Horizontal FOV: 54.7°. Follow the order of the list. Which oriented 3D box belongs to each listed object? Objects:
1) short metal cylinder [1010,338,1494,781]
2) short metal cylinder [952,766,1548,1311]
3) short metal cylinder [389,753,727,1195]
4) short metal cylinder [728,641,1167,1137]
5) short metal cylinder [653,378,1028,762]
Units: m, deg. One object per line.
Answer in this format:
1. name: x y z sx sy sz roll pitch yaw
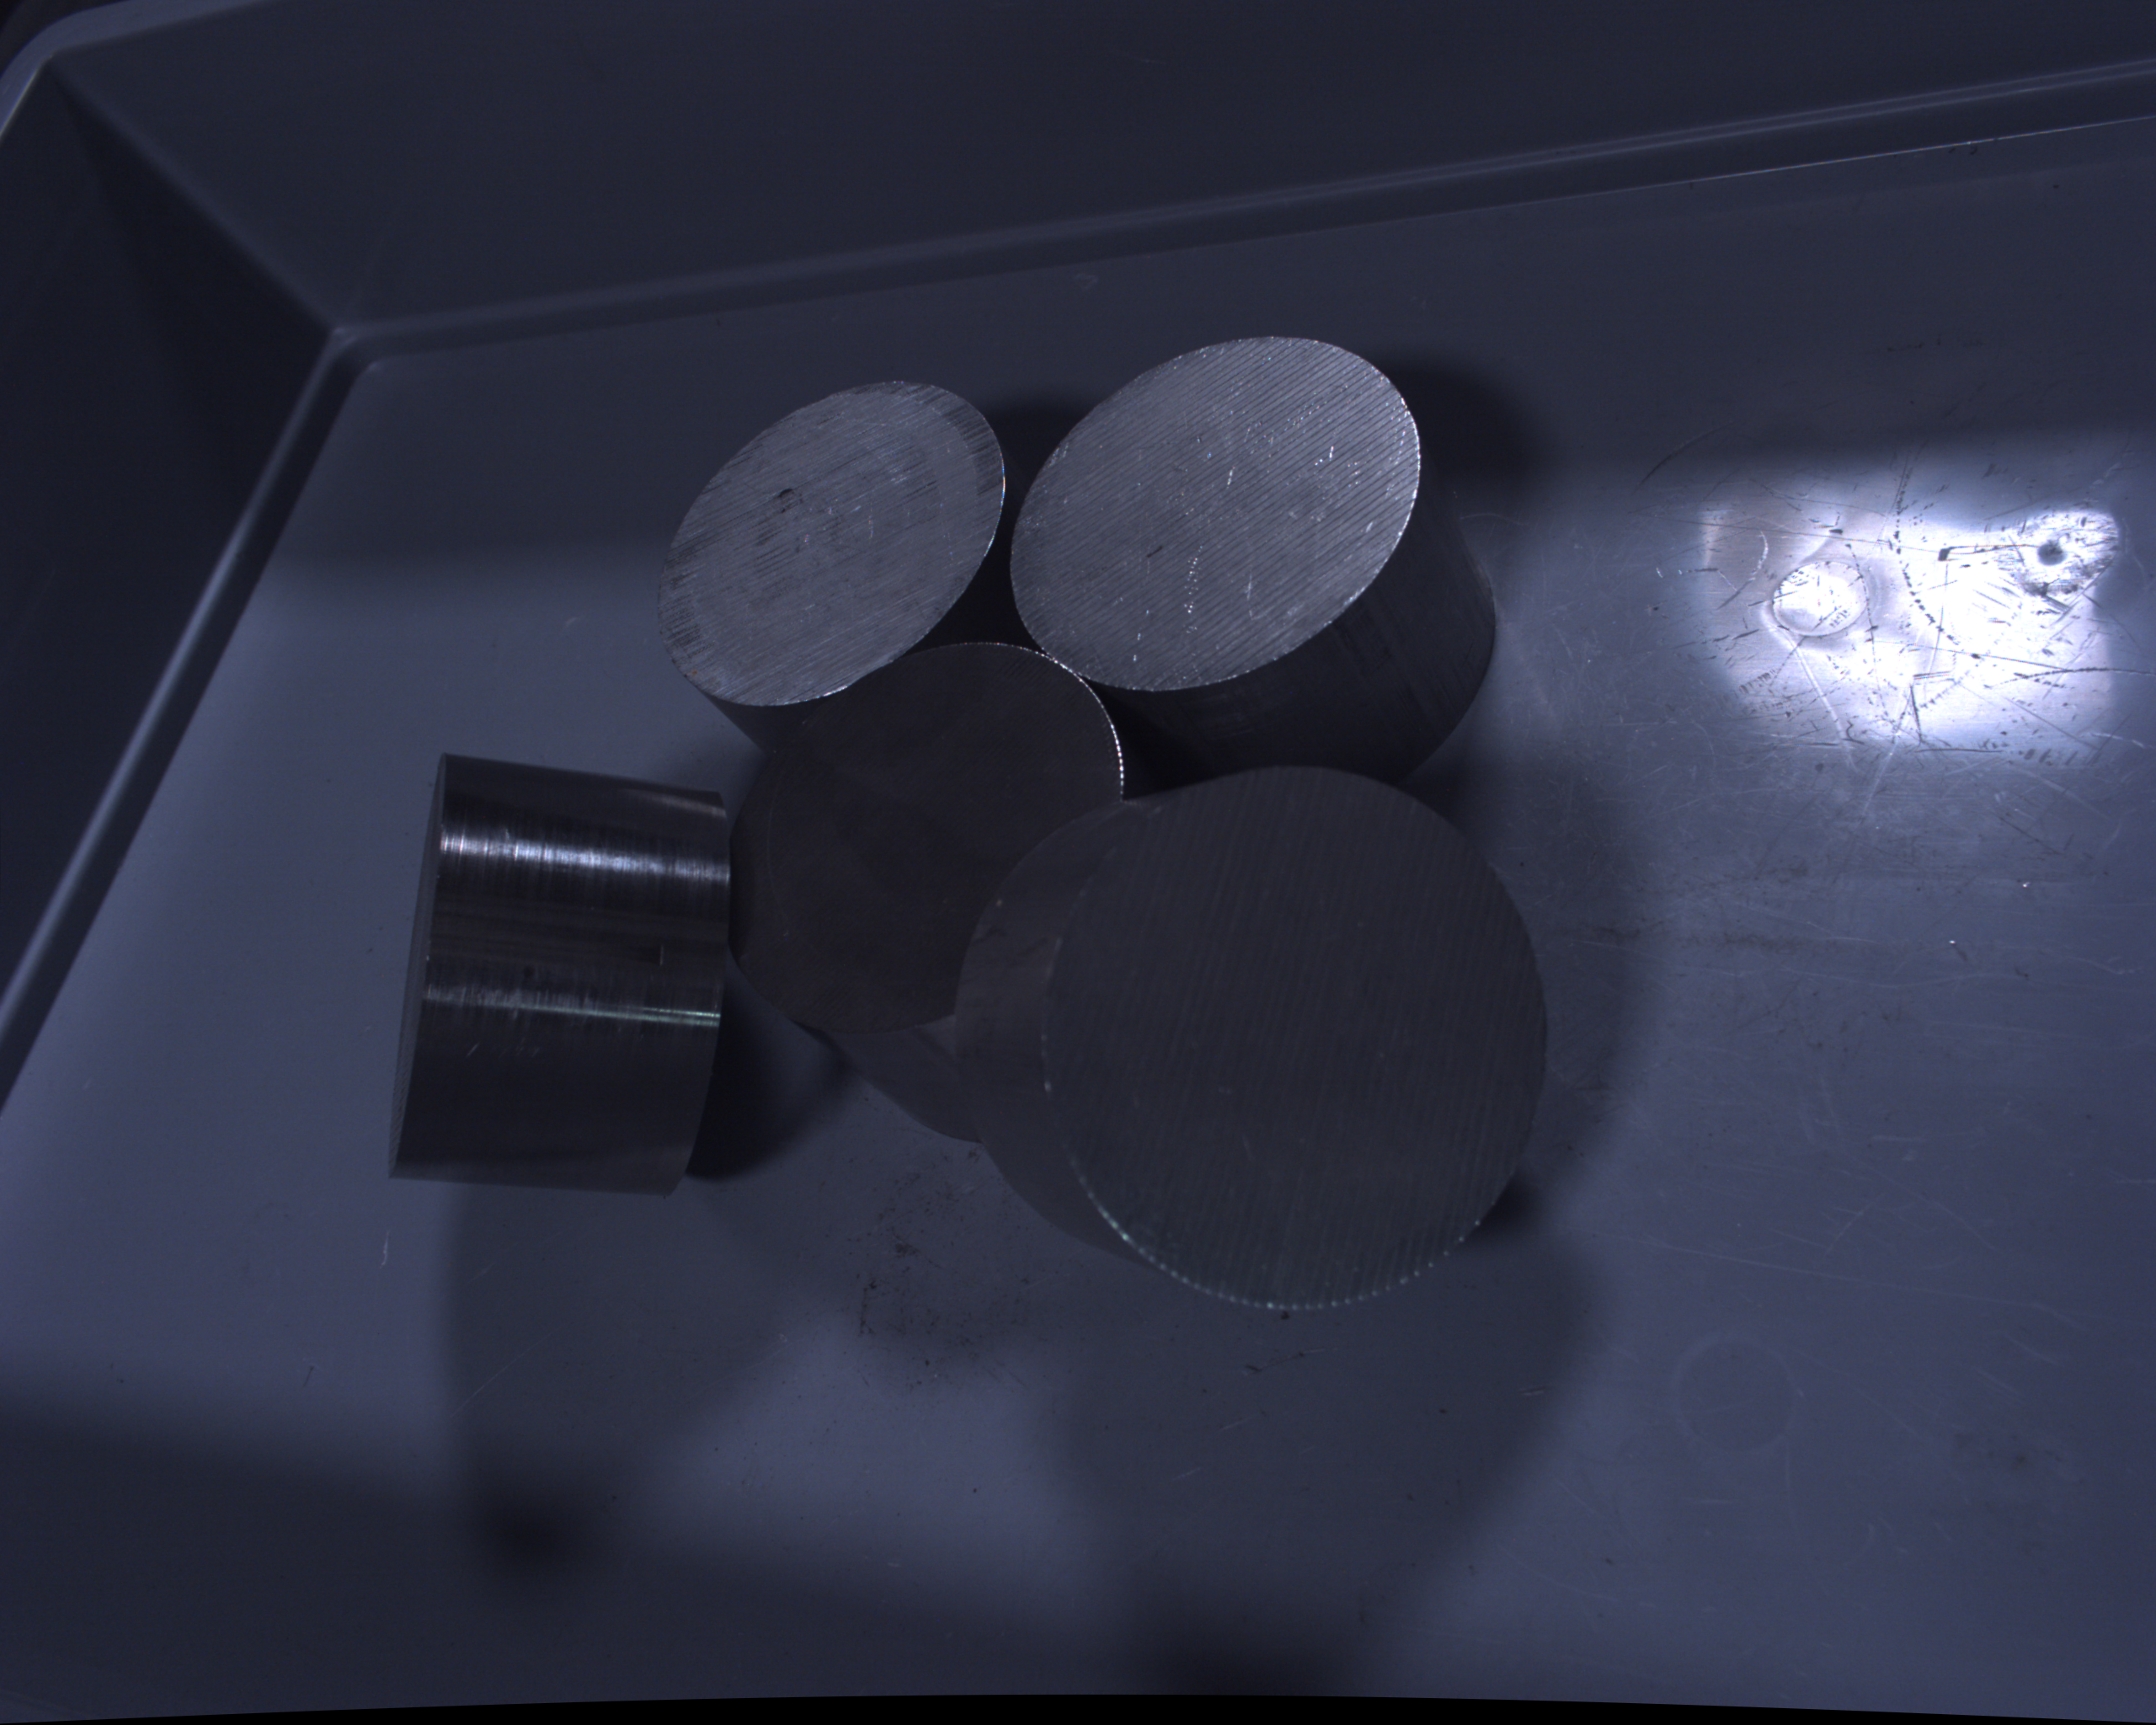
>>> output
1. short metal cylinder: 0.034 -0.053 0.402 0.080 0.050 0.080 -13 56 20
2. short metal cylinder: 0.026 0.027 0.329 0.080 0.080 0.050 -58 14 -13
3. short metal cylinder: -0.101 0.022 0.399 0.050 0.080 0.080 7 54 -19
4. short metal cylinder: -0.019 0.006 0.391 0.080 0.050 0.080 -13 56 20
5. short metal cylinder: -0.041 -0.055 0.440 0.080 0.050 0.080 -13 56 20
